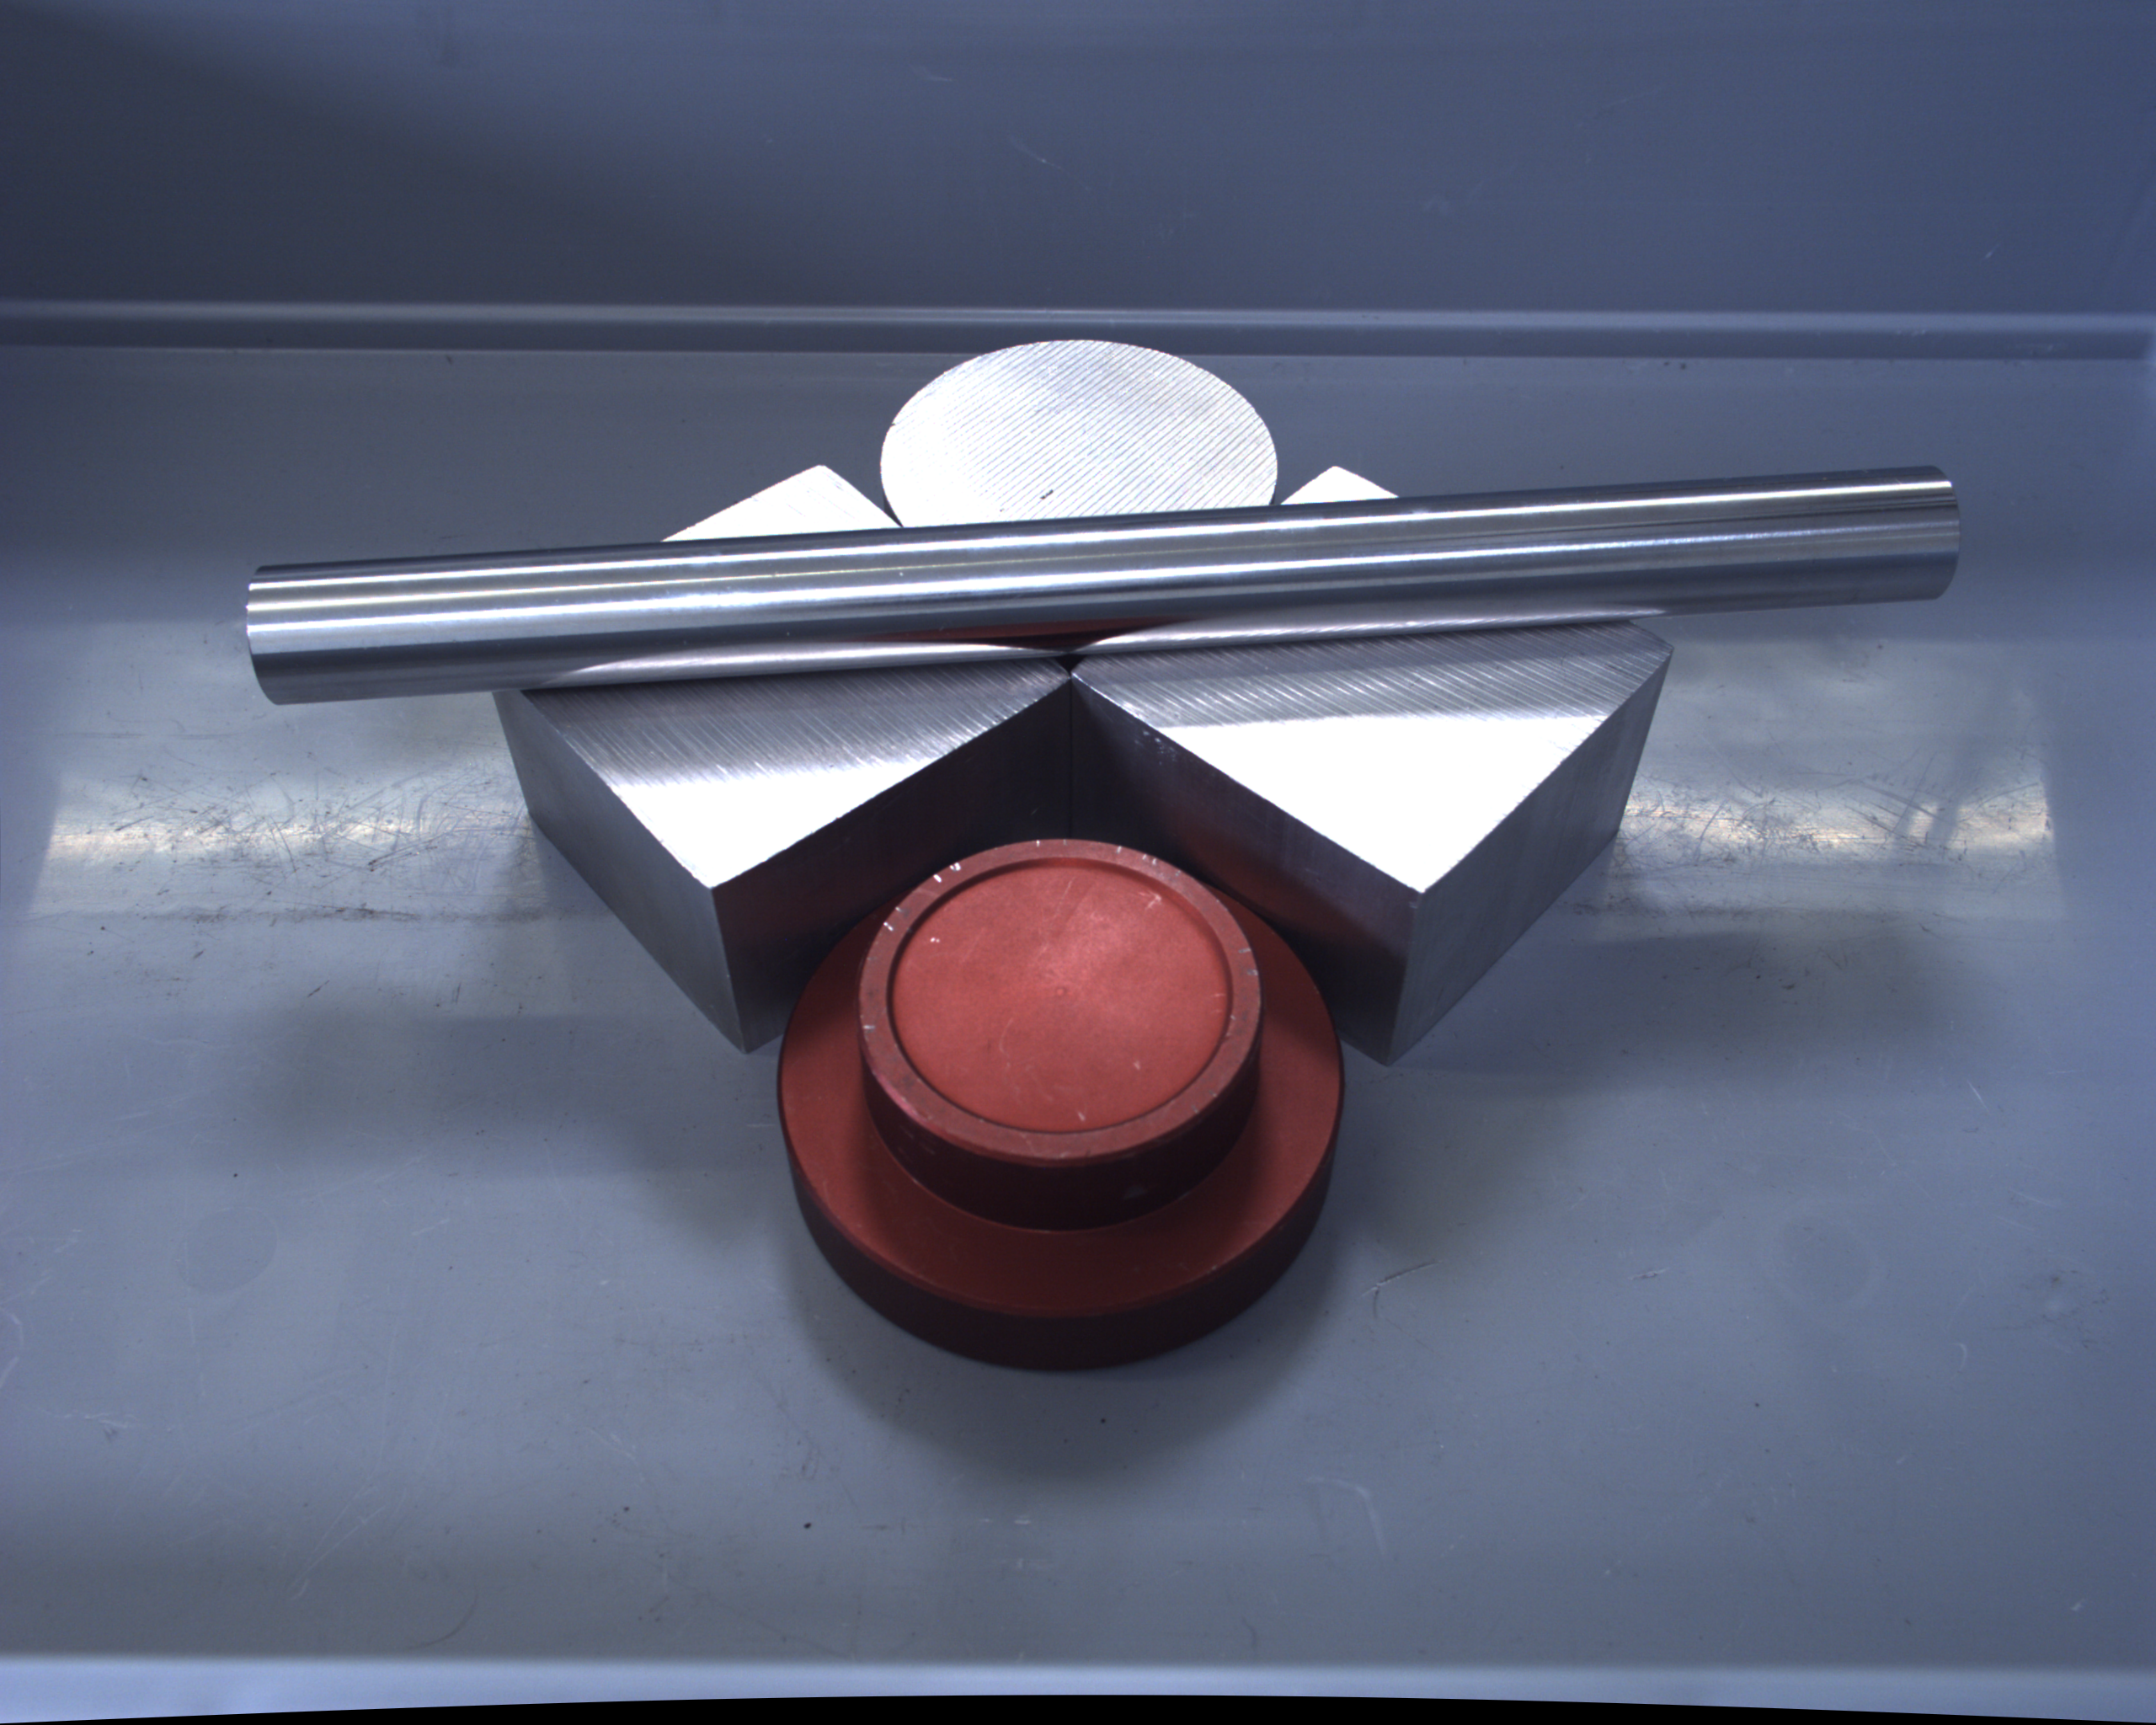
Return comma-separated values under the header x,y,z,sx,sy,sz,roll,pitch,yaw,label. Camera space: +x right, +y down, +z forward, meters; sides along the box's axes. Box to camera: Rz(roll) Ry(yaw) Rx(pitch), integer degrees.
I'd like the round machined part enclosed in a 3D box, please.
x,y,z,sx,sy,sz,roll,pitch,yaw,label
-0.003,0.034,0.362,0.099,0.042,0.098,0,50,0,round machined part

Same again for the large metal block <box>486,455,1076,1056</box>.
x,y,z,sx,sy,sz,roll,pitch,yaw,label
-0.058,-0.023,0.405,0.081,0.050,0.080,-32,59,-25,large metal block

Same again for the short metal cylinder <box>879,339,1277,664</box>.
x,y,z,sx,sy,sz,roll,pitch,yaw,label
0.000,-0.066,0.442,0.081,0.050,0.080,0,50,0,short metal cylinder

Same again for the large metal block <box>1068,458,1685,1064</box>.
x,y,z,sx,sy,sz,roll,pitch,yaw,label
0.055,-0.022,0.402,0.080,0.050,0.080,35,59,25,large metal block

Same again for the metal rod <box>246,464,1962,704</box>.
x,y,z,sx,sy,sz,roll,pitch,yaw,label
0.007,-0.051,0.378,0.302,0.025,0.025,-4,50,-3,metal rod
